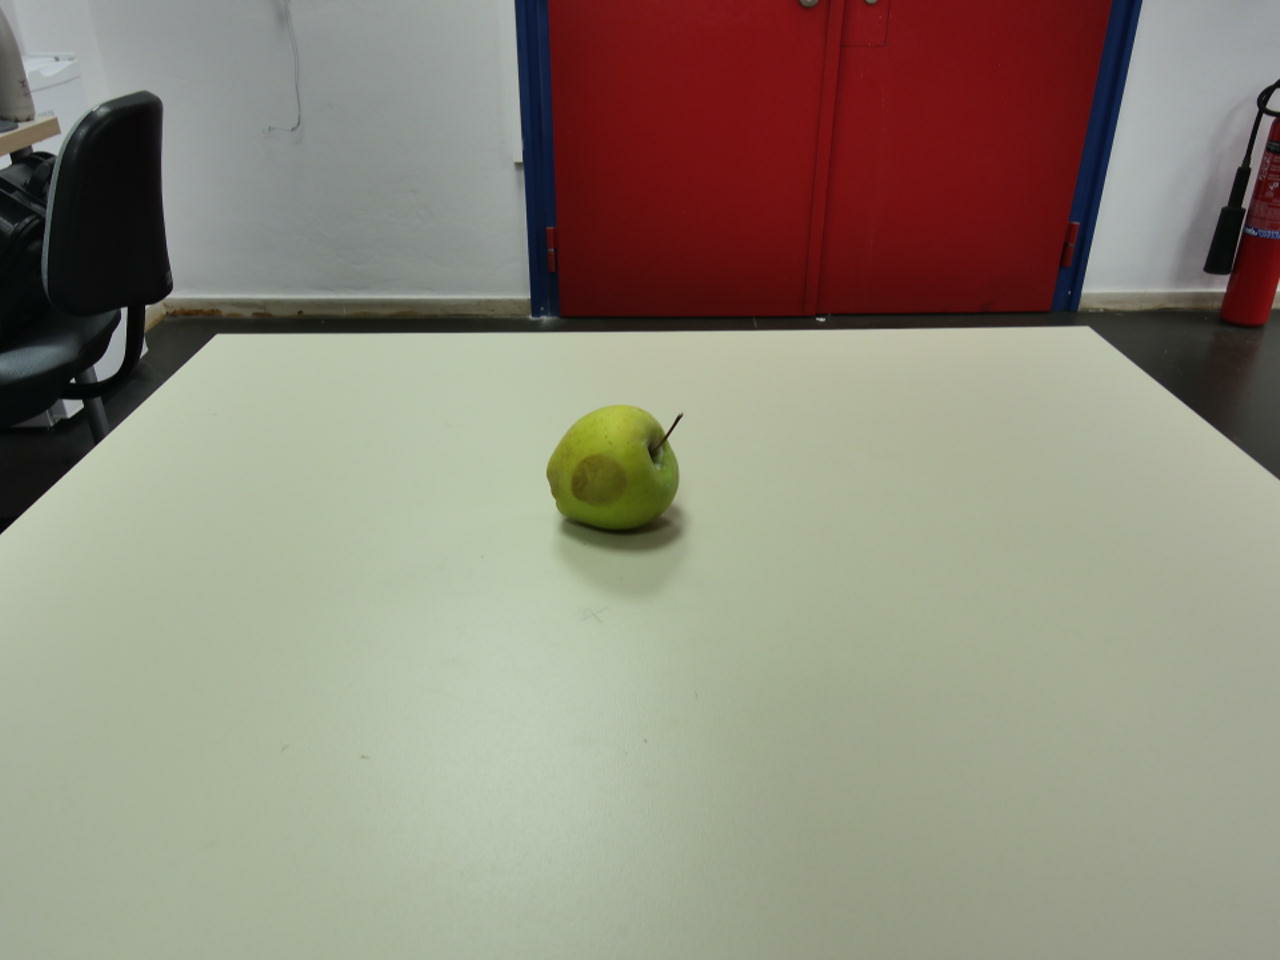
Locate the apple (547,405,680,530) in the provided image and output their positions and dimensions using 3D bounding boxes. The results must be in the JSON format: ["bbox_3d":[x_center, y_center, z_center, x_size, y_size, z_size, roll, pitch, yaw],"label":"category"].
[{"bbox_3d":[-0.015,-0.009,0.604,0.077,0.075,0.072,23,34,38],"label":"apple"}]
